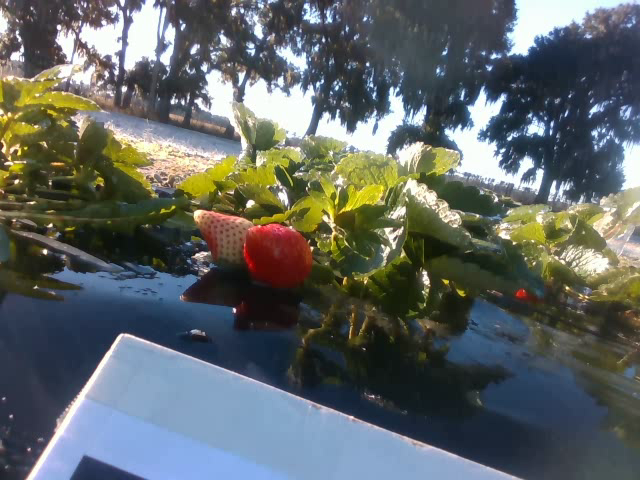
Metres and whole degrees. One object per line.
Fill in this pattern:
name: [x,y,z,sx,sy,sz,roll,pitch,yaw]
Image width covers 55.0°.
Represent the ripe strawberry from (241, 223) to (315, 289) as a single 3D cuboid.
ripe strawberry: [-0.024,0.001,0.307,0.040,0.037,0.055,-13,-42,14]
